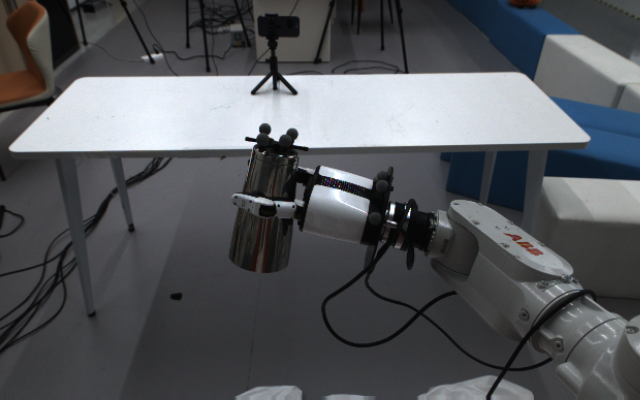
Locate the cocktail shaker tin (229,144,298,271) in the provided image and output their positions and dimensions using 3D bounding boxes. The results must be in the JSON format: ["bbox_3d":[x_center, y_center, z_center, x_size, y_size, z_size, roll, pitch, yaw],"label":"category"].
[{"bbox_3d":[-0.076,0.008,0.704,0.093,0.170,0.093,10,19,-4],"label":"cocktail shaker tin"}]
